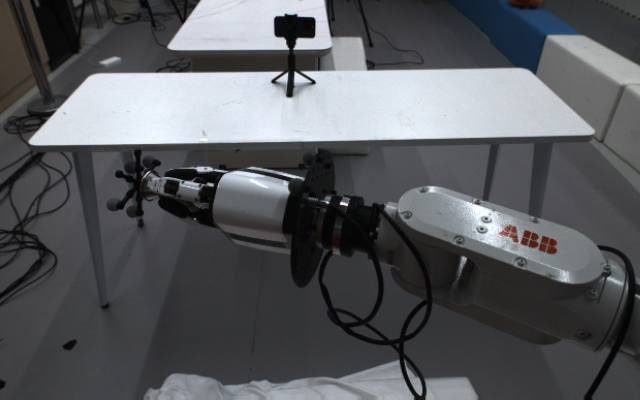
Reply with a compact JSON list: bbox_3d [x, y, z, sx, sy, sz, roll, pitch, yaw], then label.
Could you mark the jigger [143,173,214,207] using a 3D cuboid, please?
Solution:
[{"bbox_3d":[-0.180,-0.016,0.601,0.071,0.043,0.043,10,35,16],"label":"jigger"}]
